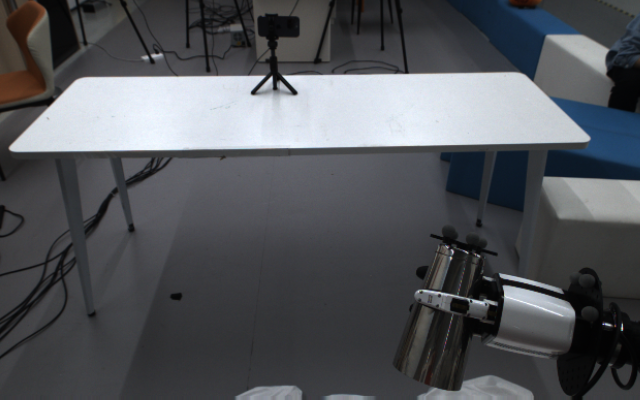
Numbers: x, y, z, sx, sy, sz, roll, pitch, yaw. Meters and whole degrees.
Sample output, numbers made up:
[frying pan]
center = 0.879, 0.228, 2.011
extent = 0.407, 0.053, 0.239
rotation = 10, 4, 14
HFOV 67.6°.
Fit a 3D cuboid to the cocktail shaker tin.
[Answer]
[cocktail shaker tin]
center = 0.167, 0.148, 0.640
extent = 0.093, 0.170, 0.093
rotation = 16, -2, 1
